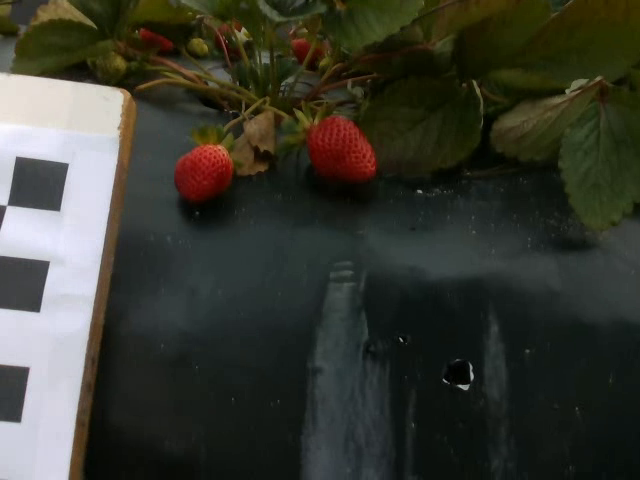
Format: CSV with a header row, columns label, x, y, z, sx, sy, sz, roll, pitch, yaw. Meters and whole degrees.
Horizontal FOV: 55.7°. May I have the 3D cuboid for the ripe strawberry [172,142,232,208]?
label,x,y,z,sx,sy,sz,roll,pitch,yaw
ripe strawberry,-0.062,-0.037,0.316,0.036,0.041,0.028,3,-33,5

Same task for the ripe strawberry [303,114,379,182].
label,x,y,z,sx,sy,sz,roll,pitch,yaw
ripe strawberry,0.013,-0.052,0.340,0.059,0.044,0.042,45,-4,30
